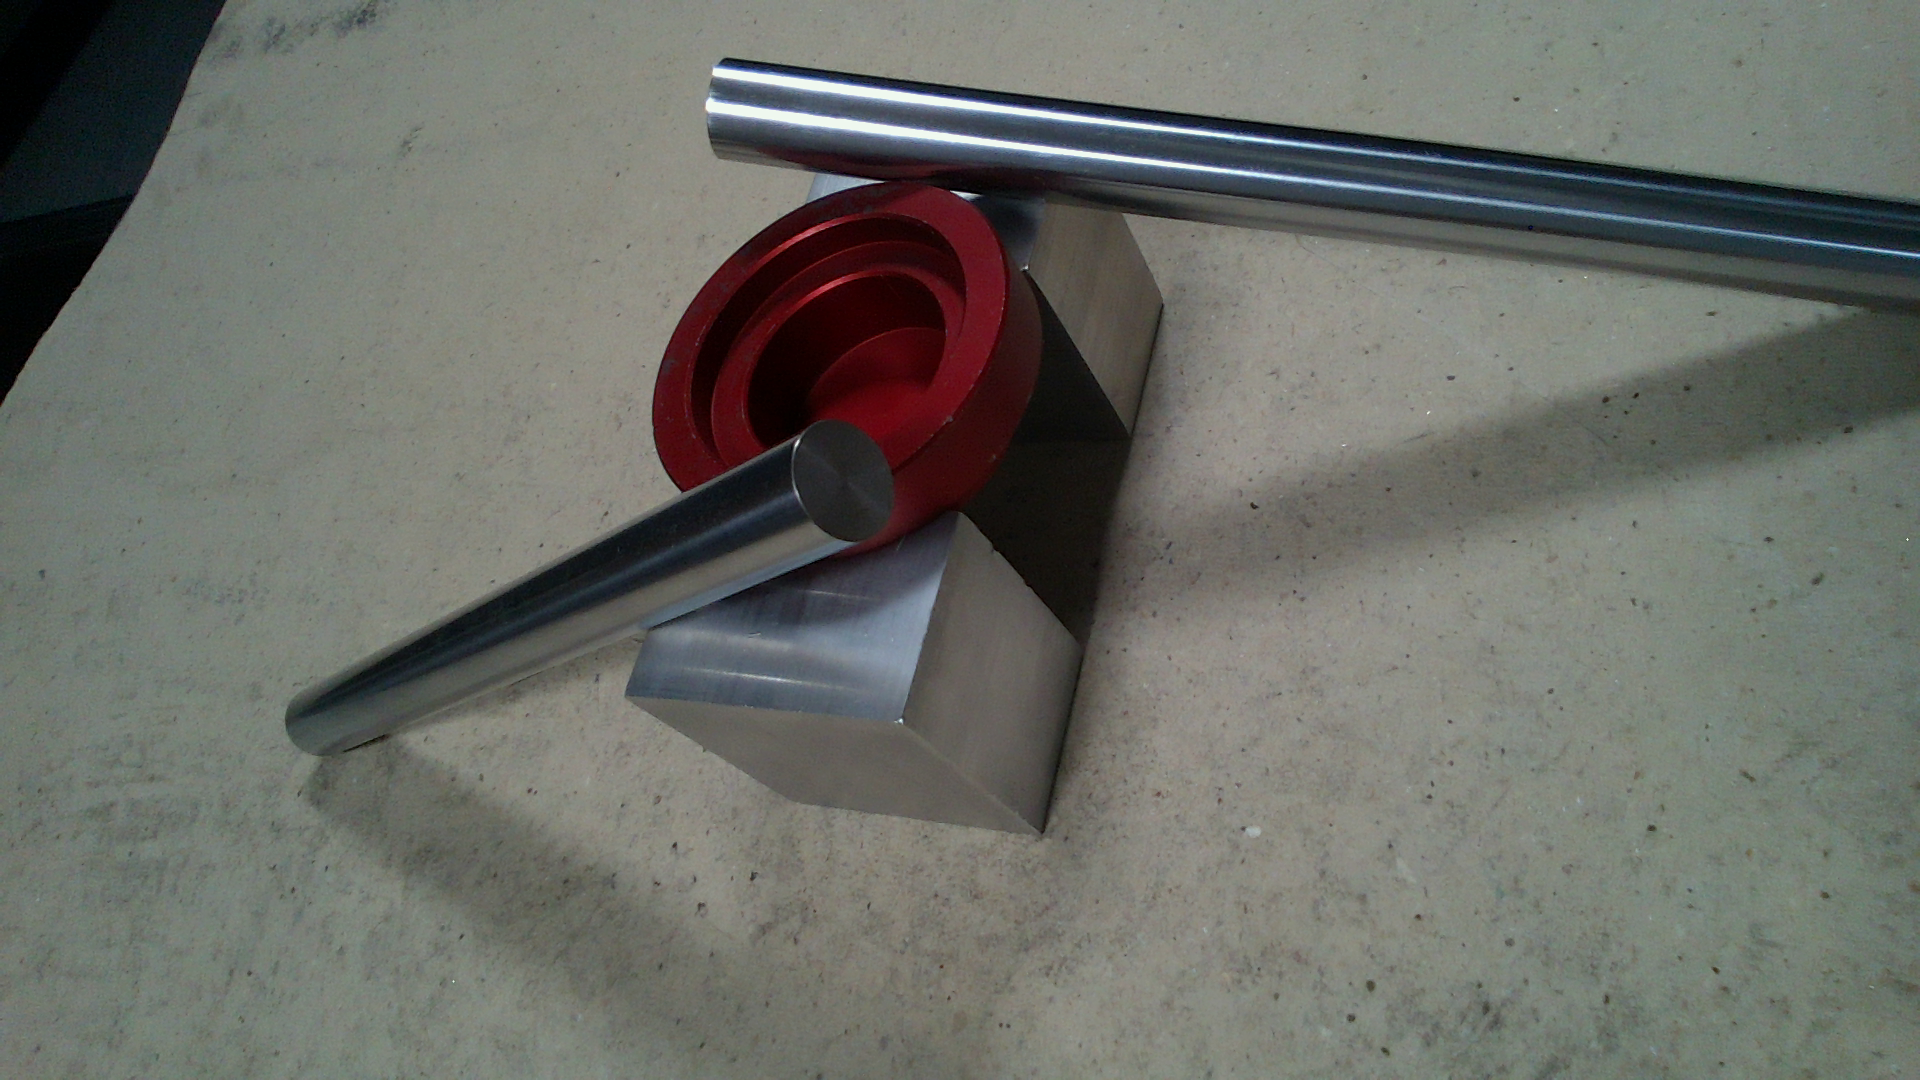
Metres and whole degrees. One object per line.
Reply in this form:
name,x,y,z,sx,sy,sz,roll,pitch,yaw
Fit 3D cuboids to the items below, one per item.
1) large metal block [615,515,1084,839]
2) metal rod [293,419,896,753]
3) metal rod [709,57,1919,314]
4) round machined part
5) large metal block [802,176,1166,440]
large metal block,-0.024,0.035,0.350,0.080,0.080,0.050,1,62,29
metal rod,-0.120,0.025,0.372,0.299,0.025,0.025,-20,50,45
metal rod,0.086,-0.086,0.331,0.300,0.025,0.025,10,65,8
round machined part,-0.024,-0.038,0.343,0.098,0.042,0.098,-13,56,21
large metal block,0.005,-0.071,0.399,0.080,0.080,0.050,1,62,29
